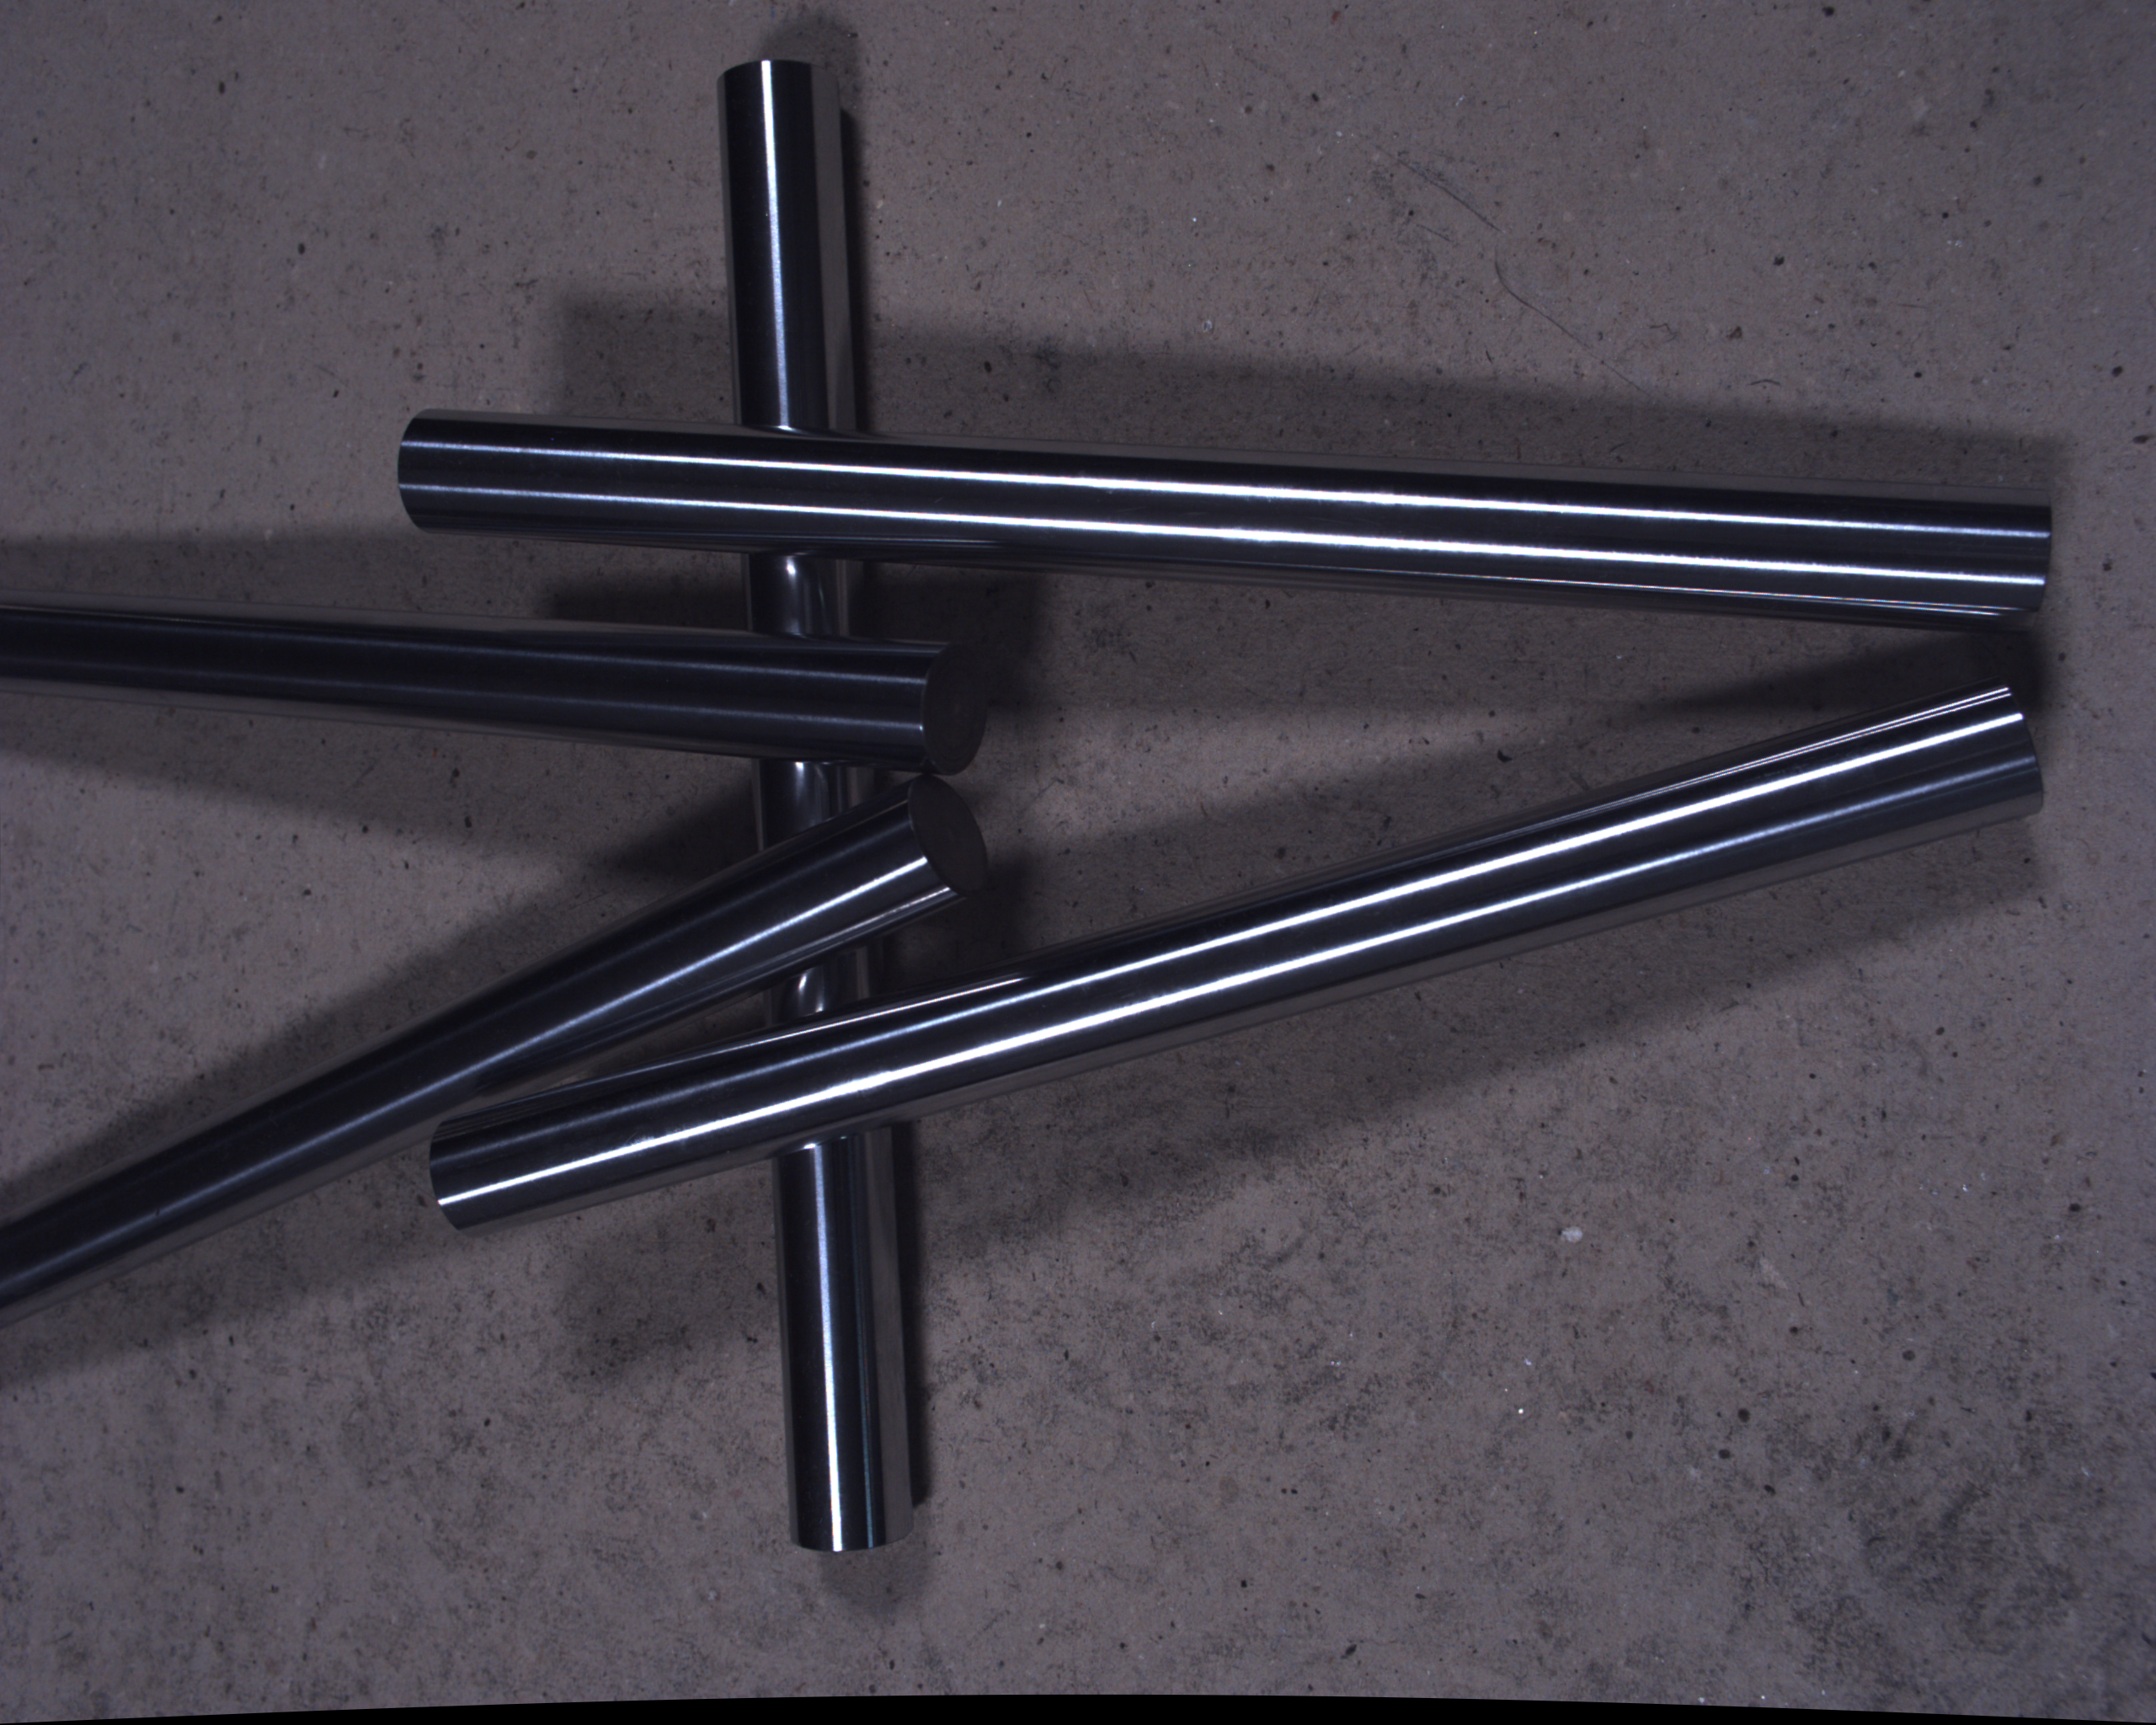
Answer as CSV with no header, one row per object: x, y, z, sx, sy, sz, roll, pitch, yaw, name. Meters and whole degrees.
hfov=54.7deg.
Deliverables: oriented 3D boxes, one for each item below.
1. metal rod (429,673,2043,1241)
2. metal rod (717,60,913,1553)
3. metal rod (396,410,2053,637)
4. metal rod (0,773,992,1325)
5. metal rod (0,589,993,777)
0.018,0.022,0.386,0.301,0.025,0.025,-17,85,12,metal rod
-0.054,-0.012,0.428,0.025,0.025,0.298,-3,89,19,metal rod
0.016,-0.065,0.387,0.301,0.025,0.025,5,92,13,metal rod
-0.149,0.050,0.446,0.300,0.025,0.025,-24,82,23,metal rod
-0.158,-0.042,0.449,0.301,0.025,0.025,6,92,25,metal rod
